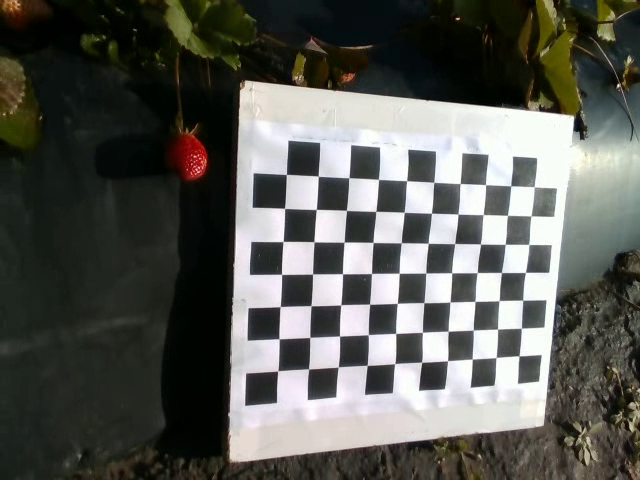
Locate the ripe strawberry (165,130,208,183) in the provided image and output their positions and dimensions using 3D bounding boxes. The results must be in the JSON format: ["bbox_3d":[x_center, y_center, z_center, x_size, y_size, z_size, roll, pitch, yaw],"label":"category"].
[{"bbox_3d":[-0.078,-0.045,0.367,0.034,0.033,0.038,-1,45,-21],"label":"ripe strawberry"}]
